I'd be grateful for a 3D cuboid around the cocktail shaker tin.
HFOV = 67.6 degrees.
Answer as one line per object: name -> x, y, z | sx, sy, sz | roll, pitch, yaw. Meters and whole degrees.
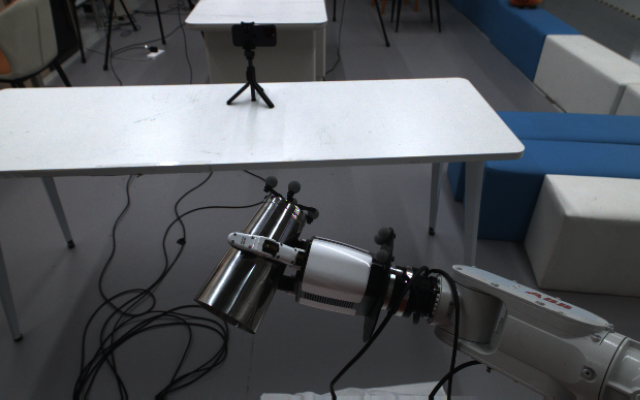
cocktail shaker tin -> -0.084, 0.079, 0.652 | 0.093, 0.093, 0.170 | 18, 66, 22
